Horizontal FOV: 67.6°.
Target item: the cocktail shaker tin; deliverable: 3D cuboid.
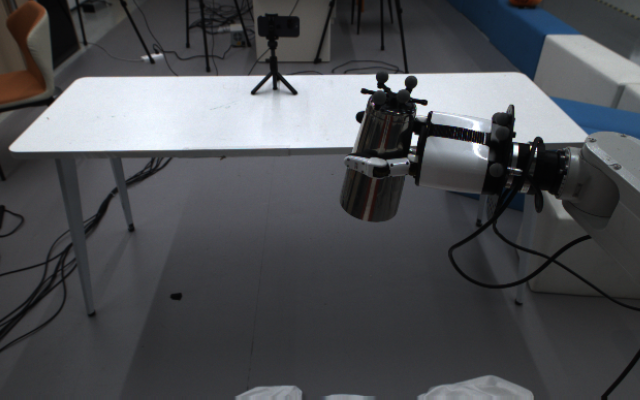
[{"bbox_3d":[0.087,-0.064,0.695,0.093,0.170,0.093,6,38,-5],"label":"cocktail shaker tin"}]
